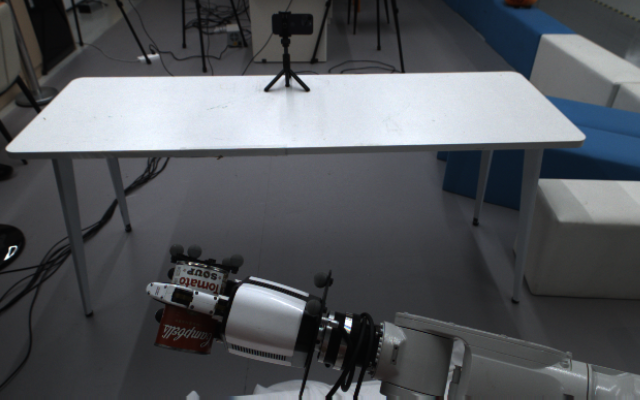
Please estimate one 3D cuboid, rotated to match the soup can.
[{"bbox_3d":[-0.155,0.133,0.591,0.067,0.067,0.101,8,72,8],"label":"soup can"}]
